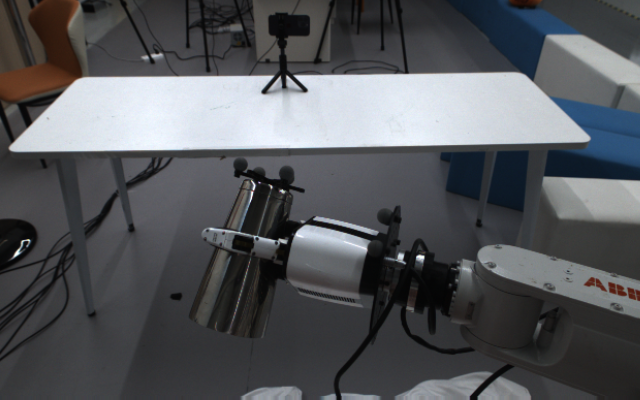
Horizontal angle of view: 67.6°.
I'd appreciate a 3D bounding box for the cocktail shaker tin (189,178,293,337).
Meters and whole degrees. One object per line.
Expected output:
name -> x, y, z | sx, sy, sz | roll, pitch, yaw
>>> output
cocktail shaker tin -> -0.086, 0.067, 0.577 | 0.093, 0.170, 0.093 | 15, -6, 2
